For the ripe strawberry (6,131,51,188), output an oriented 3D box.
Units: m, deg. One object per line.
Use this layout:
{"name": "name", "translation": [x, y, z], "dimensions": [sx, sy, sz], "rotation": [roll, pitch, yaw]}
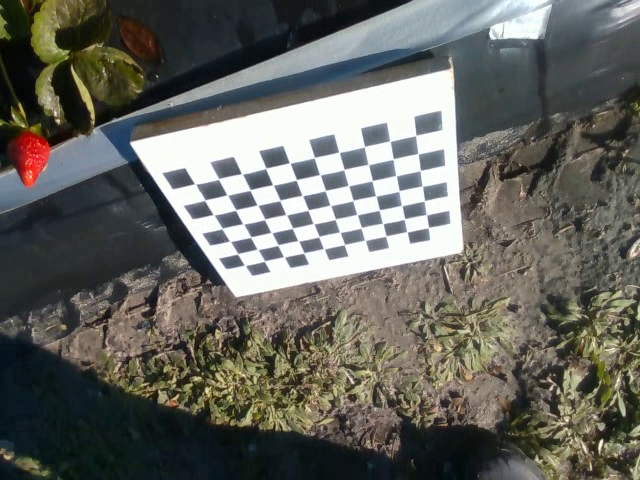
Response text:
{"name": "ripe strawberry", "translation": [-0.219, -0.044, 0.538], "dimensions": [0.036, 0.046, 0.038], "rotation": [-10, -20, 13]}
